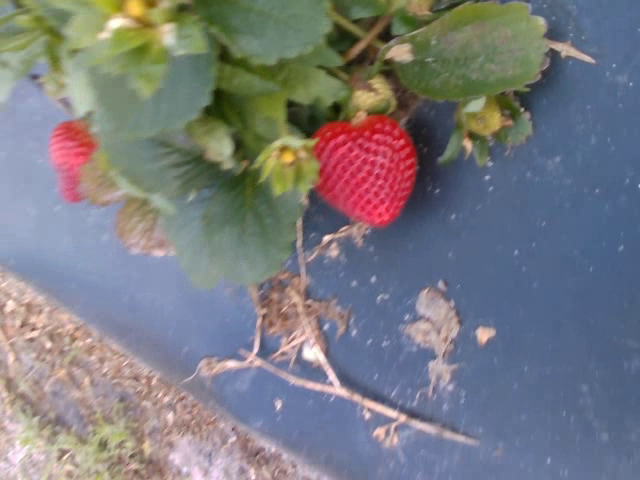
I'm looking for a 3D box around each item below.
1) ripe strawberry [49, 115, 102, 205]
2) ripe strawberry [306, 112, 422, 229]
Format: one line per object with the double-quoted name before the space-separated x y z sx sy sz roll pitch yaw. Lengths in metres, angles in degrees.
"ripe strawberry" -0.121 -0.040 0.333 0.043 0.051 0.042 32 25 17
"ripe strawberry" 0.016 -0.024 0.247 0.046 0.046 0.043 -10 -26 -29
